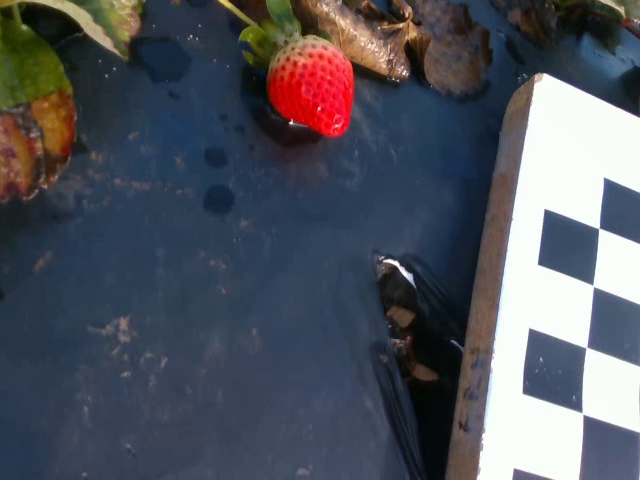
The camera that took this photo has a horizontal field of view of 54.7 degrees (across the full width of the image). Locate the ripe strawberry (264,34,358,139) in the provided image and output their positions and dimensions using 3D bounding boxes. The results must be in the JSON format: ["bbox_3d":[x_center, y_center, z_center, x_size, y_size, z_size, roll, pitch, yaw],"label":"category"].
[{"bbox_3d":[-0.002,-0.053,0.216,0.035,0.043,0.030,-16,-15,-24],"label":"ripe strawberry"}]
